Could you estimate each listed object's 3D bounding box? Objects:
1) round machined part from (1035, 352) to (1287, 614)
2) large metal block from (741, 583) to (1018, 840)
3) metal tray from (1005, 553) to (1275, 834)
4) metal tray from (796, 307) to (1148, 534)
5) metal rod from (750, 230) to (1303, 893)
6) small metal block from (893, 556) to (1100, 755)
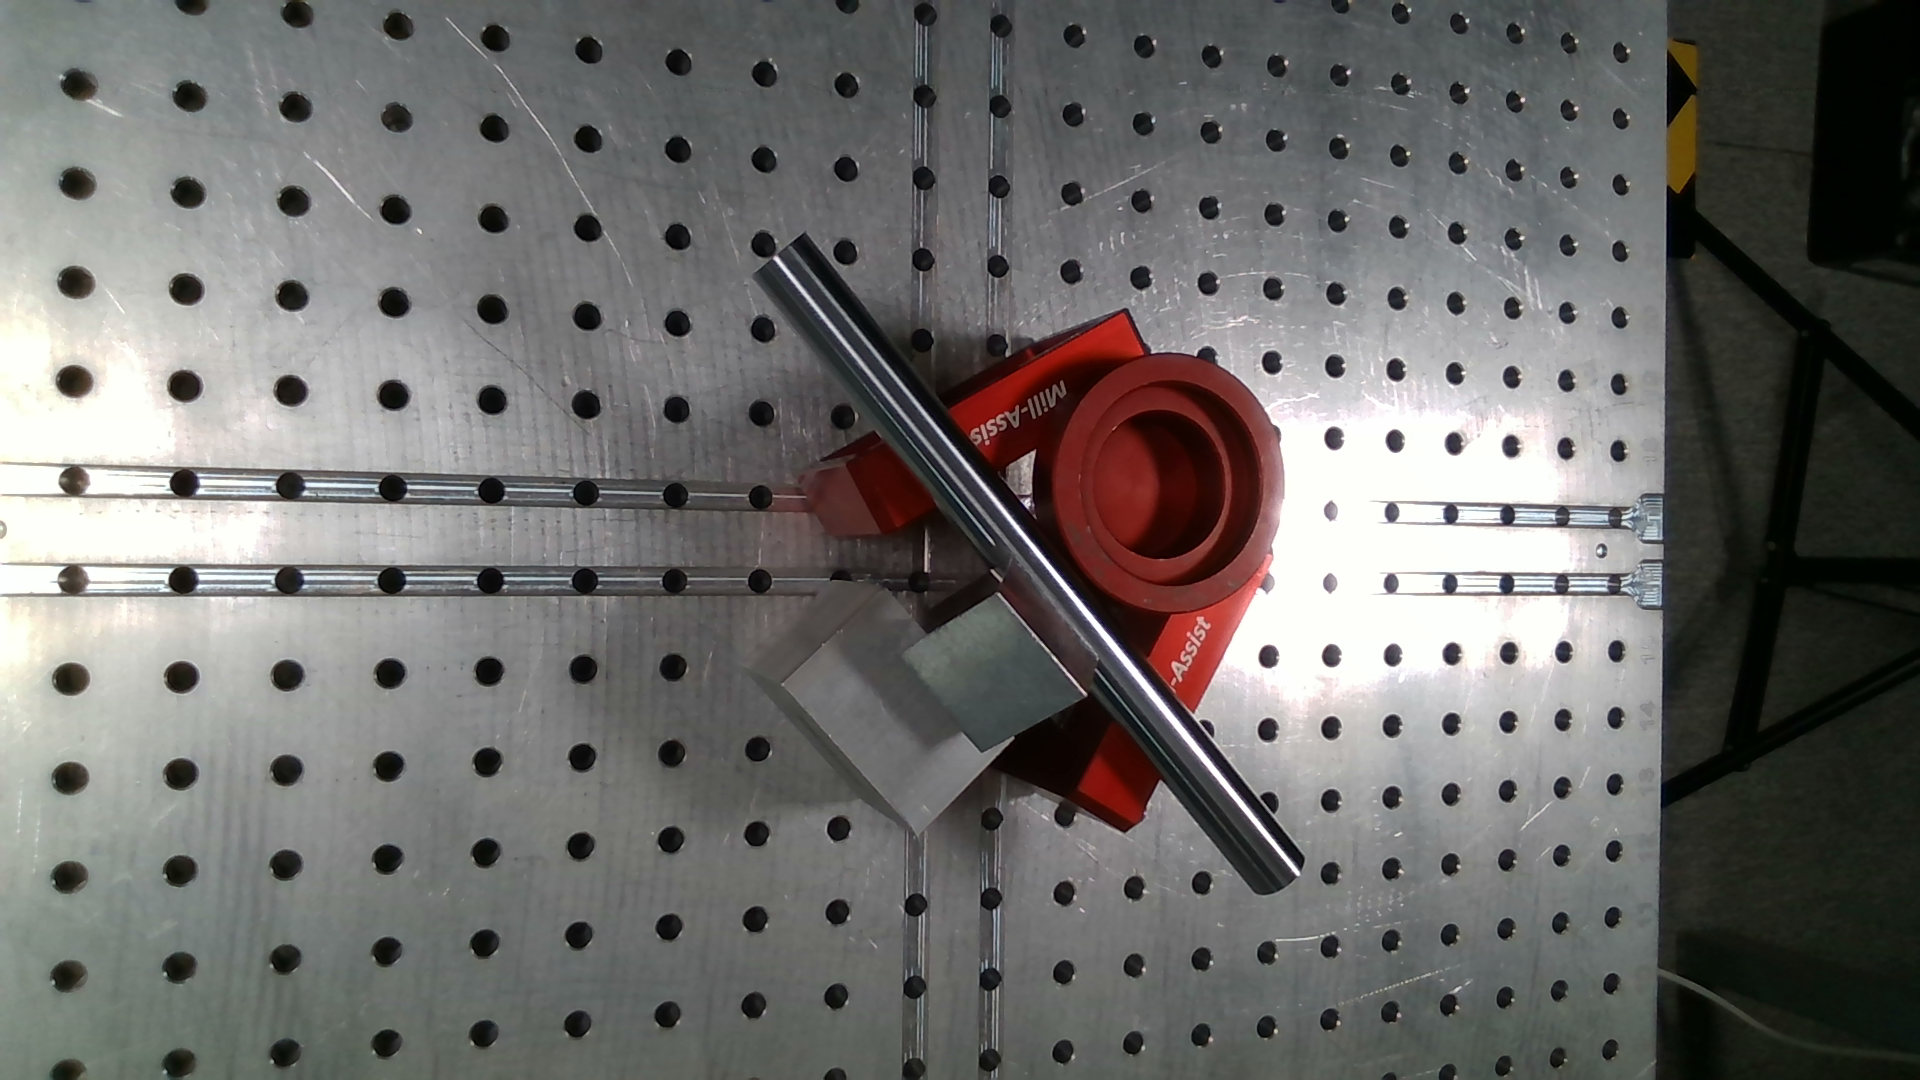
[{"bbox_3d":[0.073,-0.021,0.533,0.098,0.042,0.098,0,90,-20],"label":"round machined part"},{"bbox_3d":[-0.034,0.065,0.543,0.050,0.080,0.080,-43,104,-15],"label":"large metal block"},{"bbox_3d":[0.071,0.052,0.579,0.030,0.090,0.130,33,79,-16],"label":"metal tray"},{"bbox_3d":[0.006,-0.046,0.555,0.130,0.090,0.030,-31,100,-18],"label":"metal tray"},{"bbox_3d":[0.031,0.015,0.504,0.025,0.025,0.300,-43,104,-15],"label":"metal rod"},{"bbox_3d":[0.013,0.042,0.493,0.050,0.050,0.025,49,30,-14],"label":"small metal block"}]
